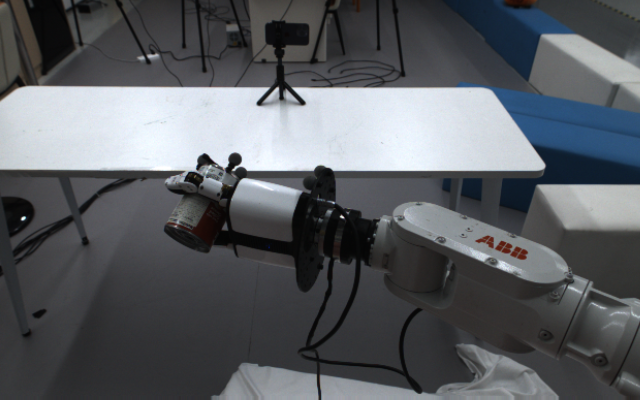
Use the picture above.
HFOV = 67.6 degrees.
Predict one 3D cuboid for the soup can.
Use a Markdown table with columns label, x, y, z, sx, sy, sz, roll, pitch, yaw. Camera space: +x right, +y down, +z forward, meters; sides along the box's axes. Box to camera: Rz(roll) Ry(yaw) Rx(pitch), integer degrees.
| label | x | y | z | sx | sy | sz | roll | pitch | yaw |
| --- | --- | --- | --- | --- | --- | --- | --- | --- | --- |
| soup can | -0.154 | 0.010 | 0.647 | 0.067 | 0.067 | 0.101 | 16 | 63 | 19 |
